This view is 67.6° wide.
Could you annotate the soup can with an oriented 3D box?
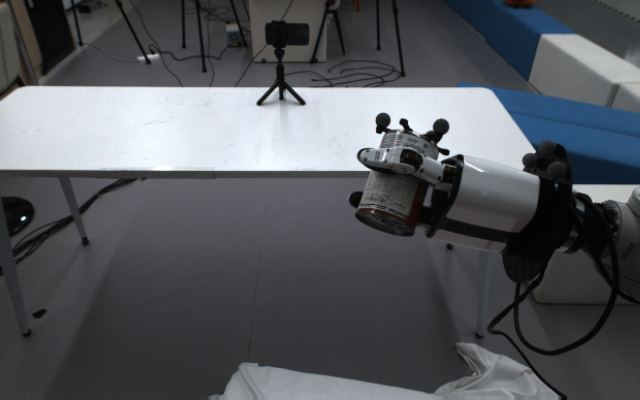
[{"bbox_3d":[0.088,-0.019,0.542,0.067,0.067,0.101,15,75,18],"label":"soup can"}]
